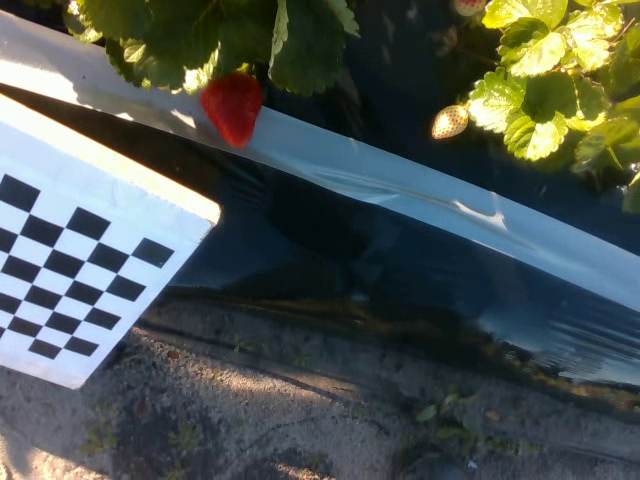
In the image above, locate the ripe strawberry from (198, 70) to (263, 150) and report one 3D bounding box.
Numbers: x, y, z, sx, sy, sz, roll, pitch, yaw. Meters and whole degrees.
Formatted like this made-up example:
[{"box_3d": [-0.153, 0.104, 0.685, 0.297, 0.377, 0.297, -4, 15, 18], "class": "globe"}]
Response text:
[{"box_3d": [-0.060, -0.090, 0.401, 0.045, 0.064, 0.048, -20, -21, 24], "class": "ripe strawberry"}]
